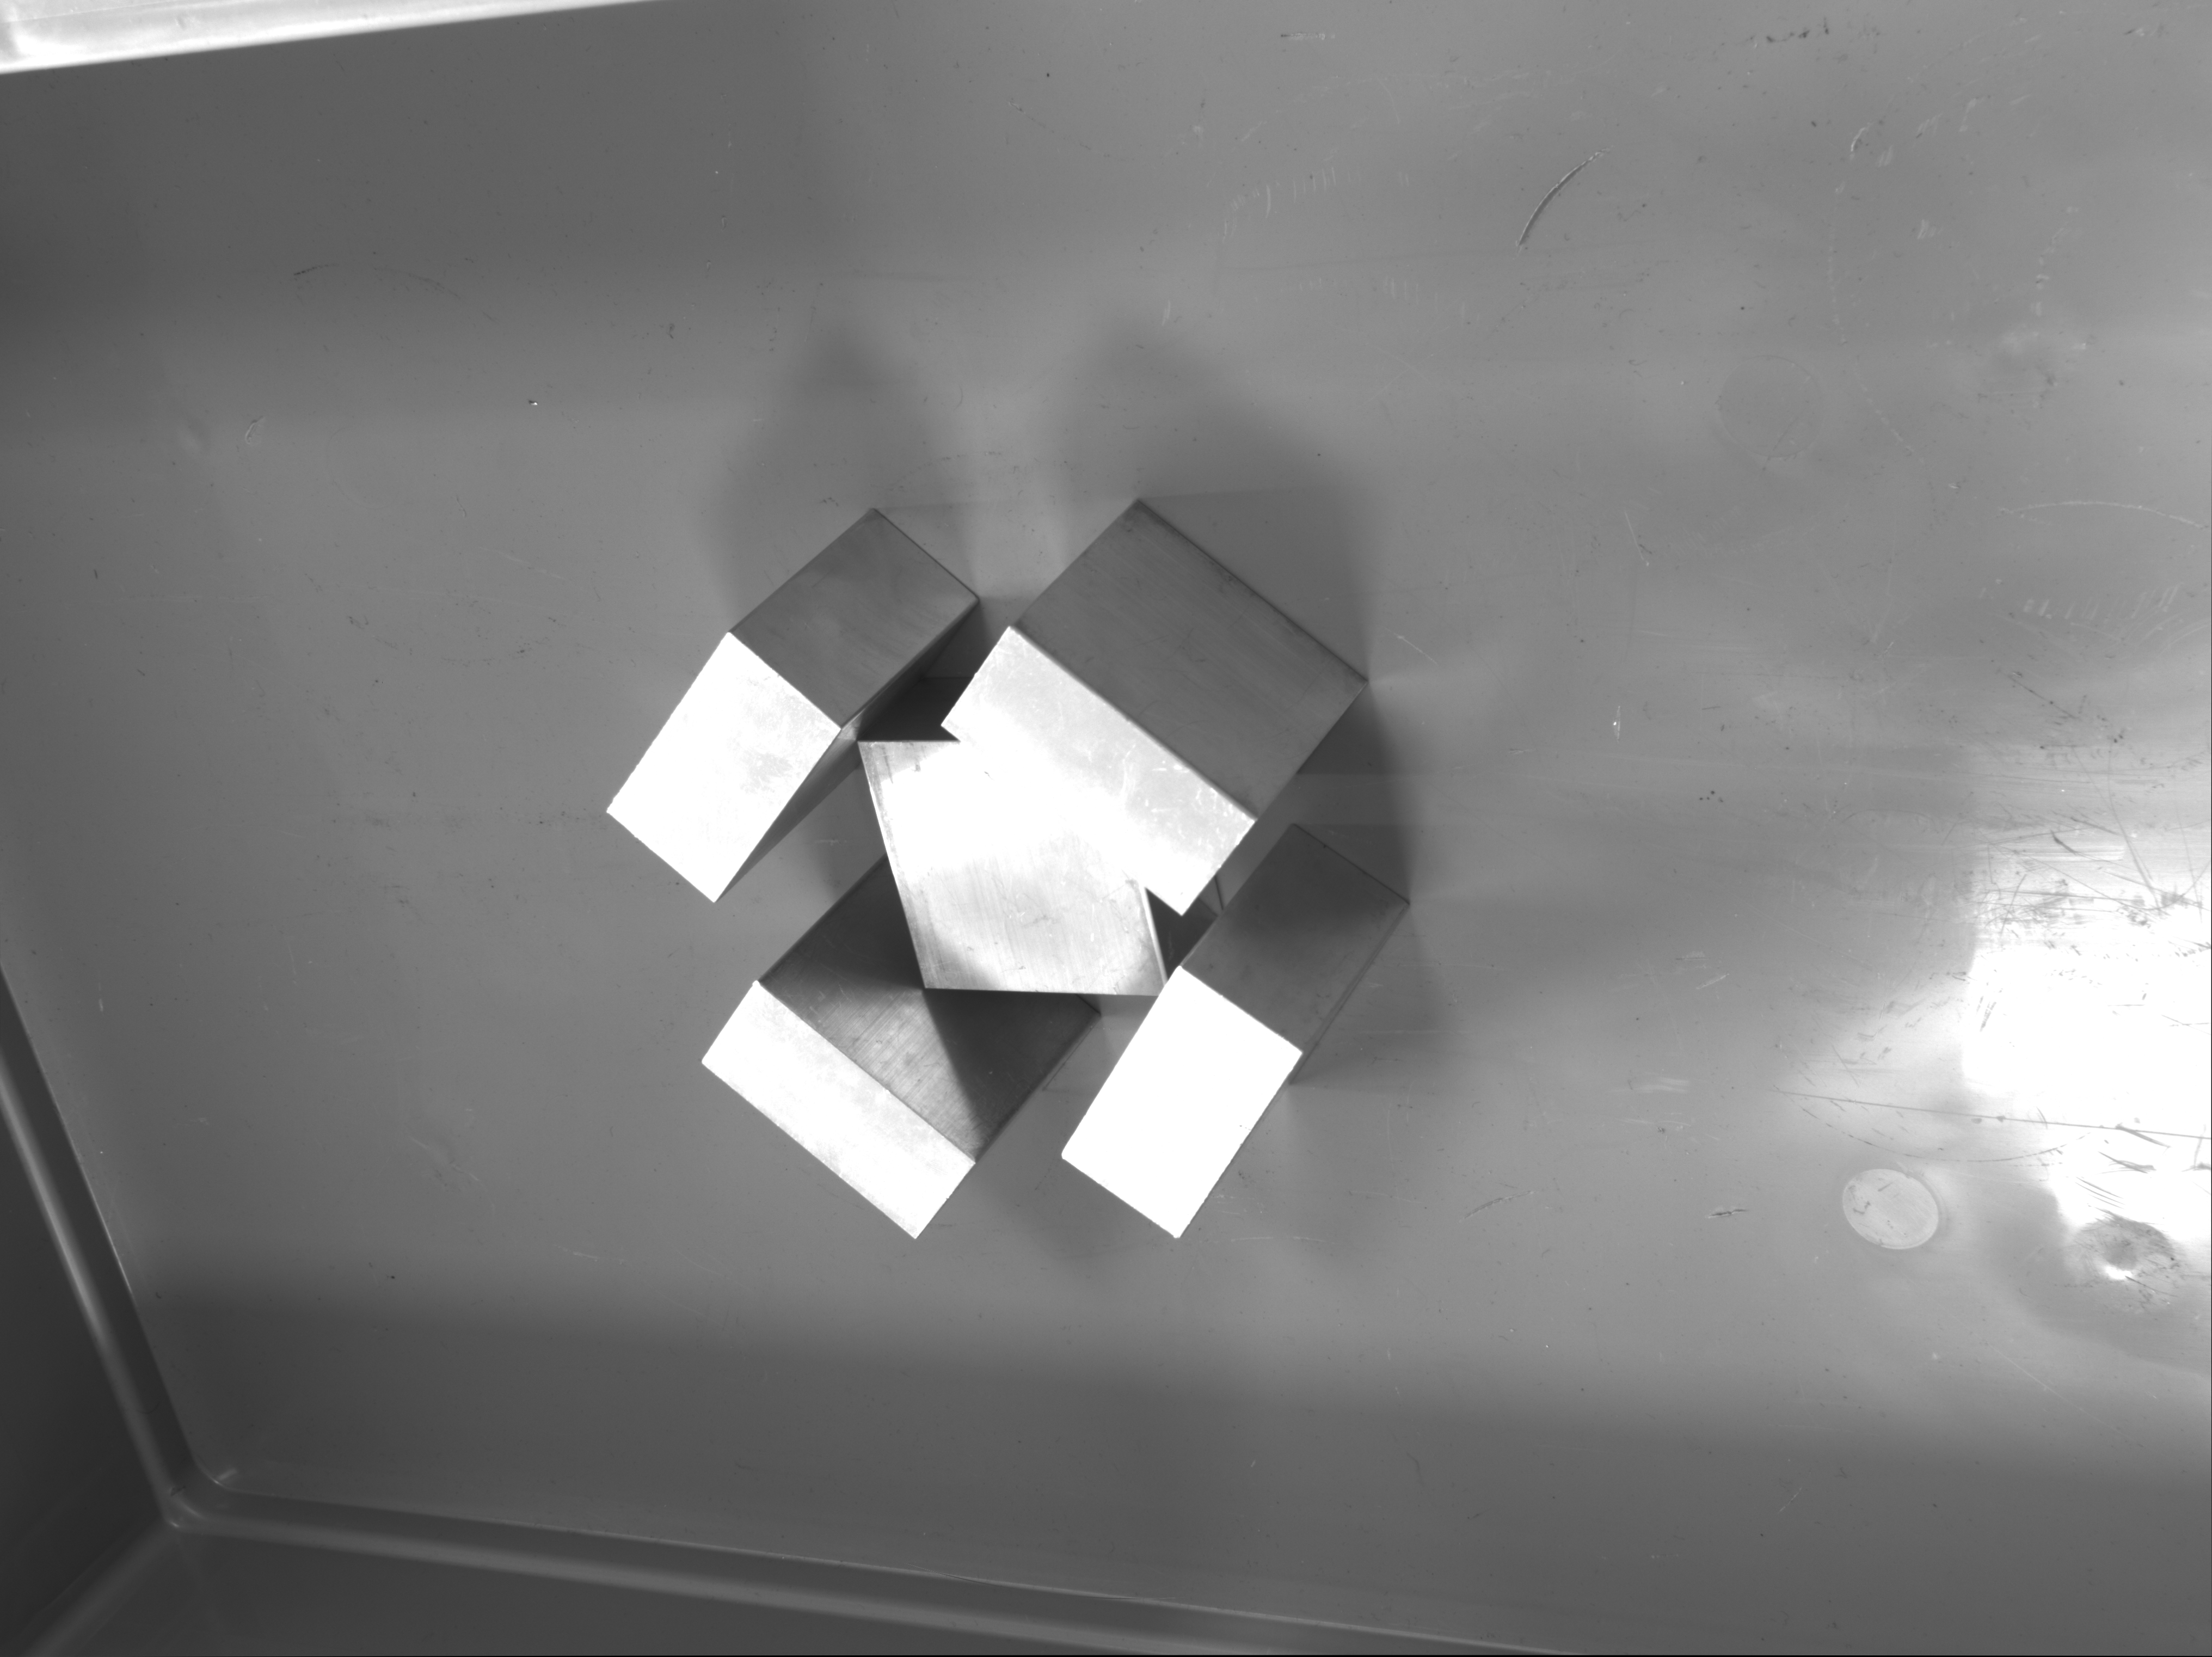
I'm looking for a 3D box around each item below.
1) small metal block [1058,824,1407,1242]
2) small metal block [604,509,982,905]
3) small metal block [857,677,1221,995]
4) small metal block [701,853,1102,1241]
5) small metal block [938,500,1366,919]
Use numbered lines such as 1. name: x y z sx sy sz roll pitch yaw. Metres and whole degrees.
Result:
1. small metal block: 0.022 0.035 0.633 0.025 0.050 0.050 34 128 5
2. small metal block: -0.054 -0.021 0.640 0.025 0.050 0.050 41 130 1
3. small metal block: -0.011 0.001 0.647 0.050 0.025 0.050 1 119 28
4. small metal block: -0.037 0.038 0.668 0.050 0.050 0.025 39 130 2
5. small metal block: 0.008 -0.020 0.607 0.050 0.050 0.025 38 128 2
